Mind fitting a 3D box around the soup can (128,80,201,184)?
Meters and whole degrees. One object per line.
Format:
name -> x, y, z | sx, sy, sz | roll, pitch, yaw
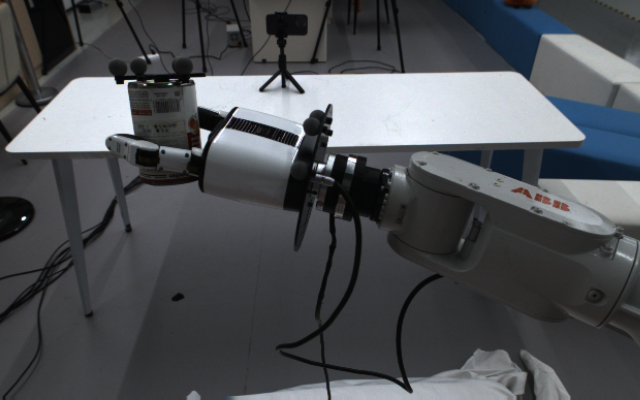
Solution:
soup can -> -0.158, -0.070, 0.506 | 0.067, 0.101, 0.067 | -2, 17, 0
